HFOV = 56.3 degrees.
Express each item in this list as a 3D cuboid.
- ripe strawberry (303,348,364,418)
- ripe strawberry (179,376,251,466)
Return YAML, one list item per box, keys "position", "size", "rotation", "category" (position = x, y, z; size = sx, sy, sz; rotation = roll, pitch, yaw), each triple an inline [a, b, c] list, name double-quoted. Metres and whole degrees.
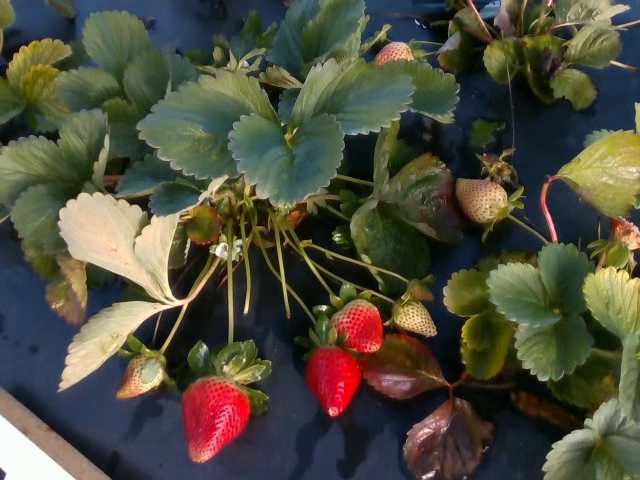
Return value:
- position: [0.007, 0.100, 0.403]
  size: [0.041, 0.055, 0.044]
  rotation: [37, -61, -24]
  category: "ripe strawberry"
- position: [-0.076, 0.122, 0.402]
  size: [0.050, 0.050, 0.065]
  rotation: [-14, 35, 29]
  category: "ripe strawberry"
